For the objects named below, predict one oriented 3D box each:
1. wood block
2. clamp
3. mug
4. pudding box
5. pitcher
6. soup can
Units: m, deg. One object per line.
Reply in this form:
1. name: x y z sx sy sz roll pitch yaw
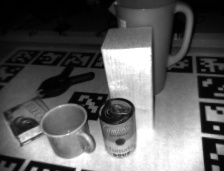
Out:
1. wood block: 0.044 -0.021 0.461 0.089 0.207 0.091 3 39 9
2. clamp: -0.145 -0.020 0.645 0.120 0.037 0.166 30 52 29
3. mug: -0.080 0.091 0.443 0.094 0.082 0.115 -30 42 -29
4. pudding box: -0.203 0.075 0.526 0.090 0.039 0.112 -33 44 -25
5. pitcher: 0.093 -0.107 0.538 0.187 0.244 0.133 0 36 15
6. soup can: 0.013 0.075 0.430 0.068 0.103 0.067 -5 40 5
